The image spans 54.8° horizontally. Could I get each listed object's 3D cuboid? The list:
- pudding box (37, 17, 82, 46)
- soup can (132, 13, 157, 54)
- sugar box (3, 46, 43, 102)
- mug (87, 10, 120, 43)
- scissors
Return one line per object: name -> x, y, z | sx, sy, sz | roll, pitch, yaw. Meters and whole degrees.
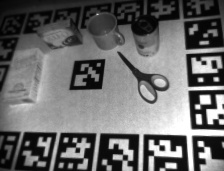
pudding box -> -0.164, -0.173, 0.679 | 0.113, 0.091, 0.038 | -11, 72, 10
soup can -> 0.091, -0.143, 0.610 | 0.067, 0.103, 0.067 | -6, 66, 14
sugar box -> -0.281, -0.040, 0.687 | 0.092, 0.046, 0.176 | -5, 69, 14
mug -> -0.018, -0.175, 0.653 | 0.093, 0.082, 0.116 | -36, 63, 1
scissors -> 0.071, -0.041, 0.611 | 0.087, 0.016, 0.201 | -44, 66, 5
